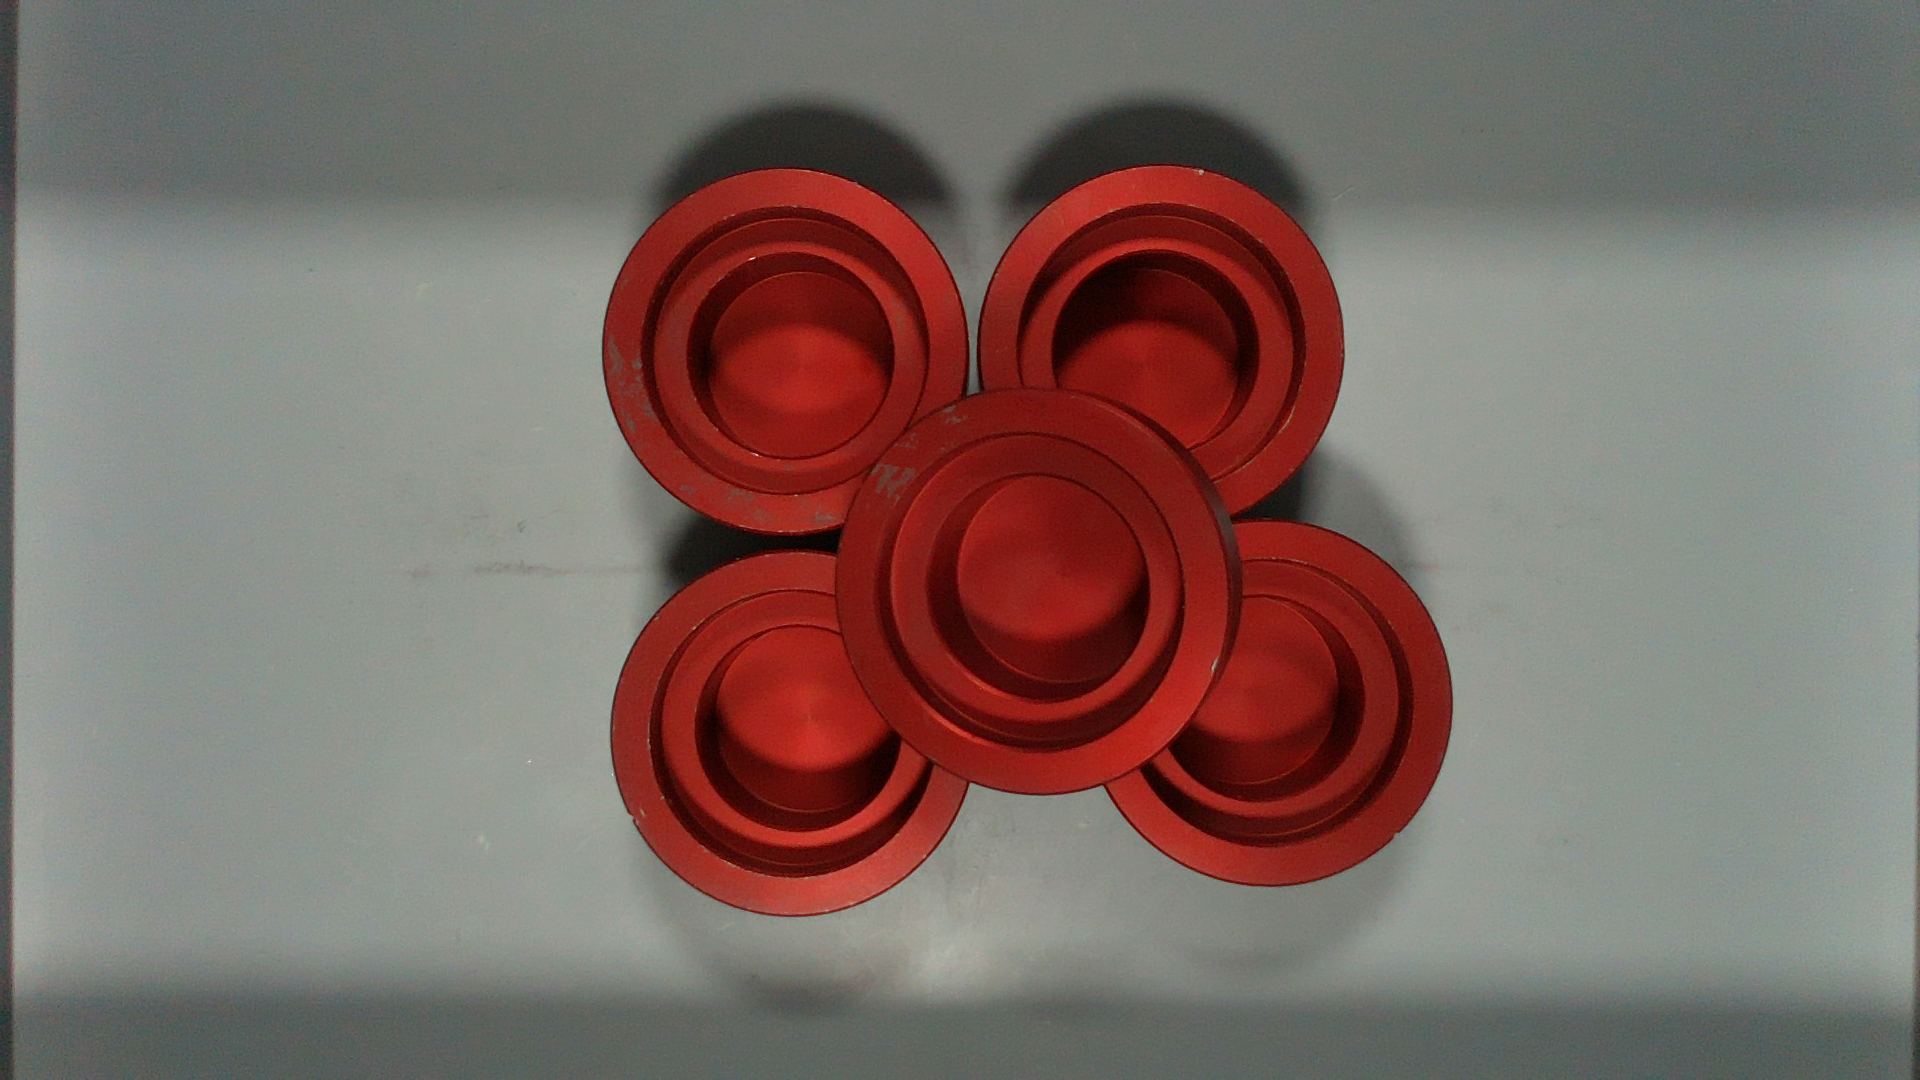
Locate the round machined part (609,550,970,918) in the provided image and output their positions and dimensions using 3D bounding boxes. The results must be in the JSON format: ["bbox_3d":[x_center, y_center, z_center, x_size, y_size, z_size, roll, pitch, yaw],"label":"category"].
[{"bbox_3d":[-0.044,0.052,0.386,0.098,0.042,0.098,0,90,0],"label":"round machined part"}]

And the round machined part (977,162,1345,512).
[{"bbox_3d":[0.054,-0.051,0.386,0.098,0.042,0.098,0,90,0],"label":"round machined part"}]

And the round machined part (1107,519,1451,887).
[{"bbox_3d":[0.082,0.043,0.386,0.098,0.042,0.098,0,90,0],"label":"round machined part"}]

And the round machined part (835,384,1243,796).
[{"bbox_3d":[0.022,0.011,0.343,0.098,0.042,0.098,2,96,18],"label":"round machined part"}]

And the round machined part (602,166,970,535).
[{"bbox_3d":[-0.046,-0.050,0.385,0.098,0.042,0.098,0,90,0],"label":"round machined part"}]
